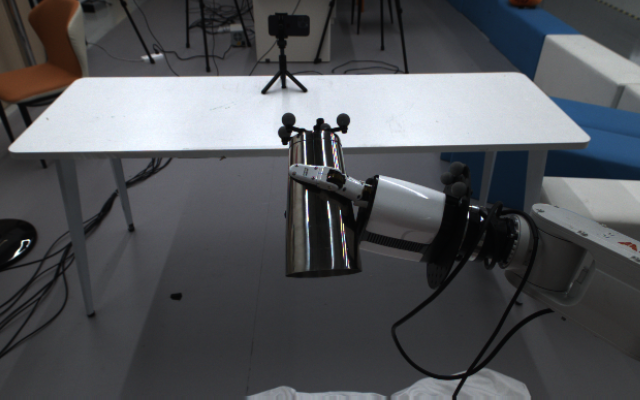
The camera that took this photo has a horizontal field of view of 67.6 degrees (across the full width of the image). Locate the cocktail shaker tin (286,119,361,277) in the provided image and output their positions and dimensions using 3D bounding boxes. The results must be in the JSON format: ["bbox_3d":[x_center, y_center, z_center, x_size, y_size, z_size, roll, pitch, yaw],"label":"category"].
[{"bbox_3d":[-0.001,0.006,0.595,0.093,0.093,0.170,-3,76,-7],"label":"cocktail shaker tin"}]
